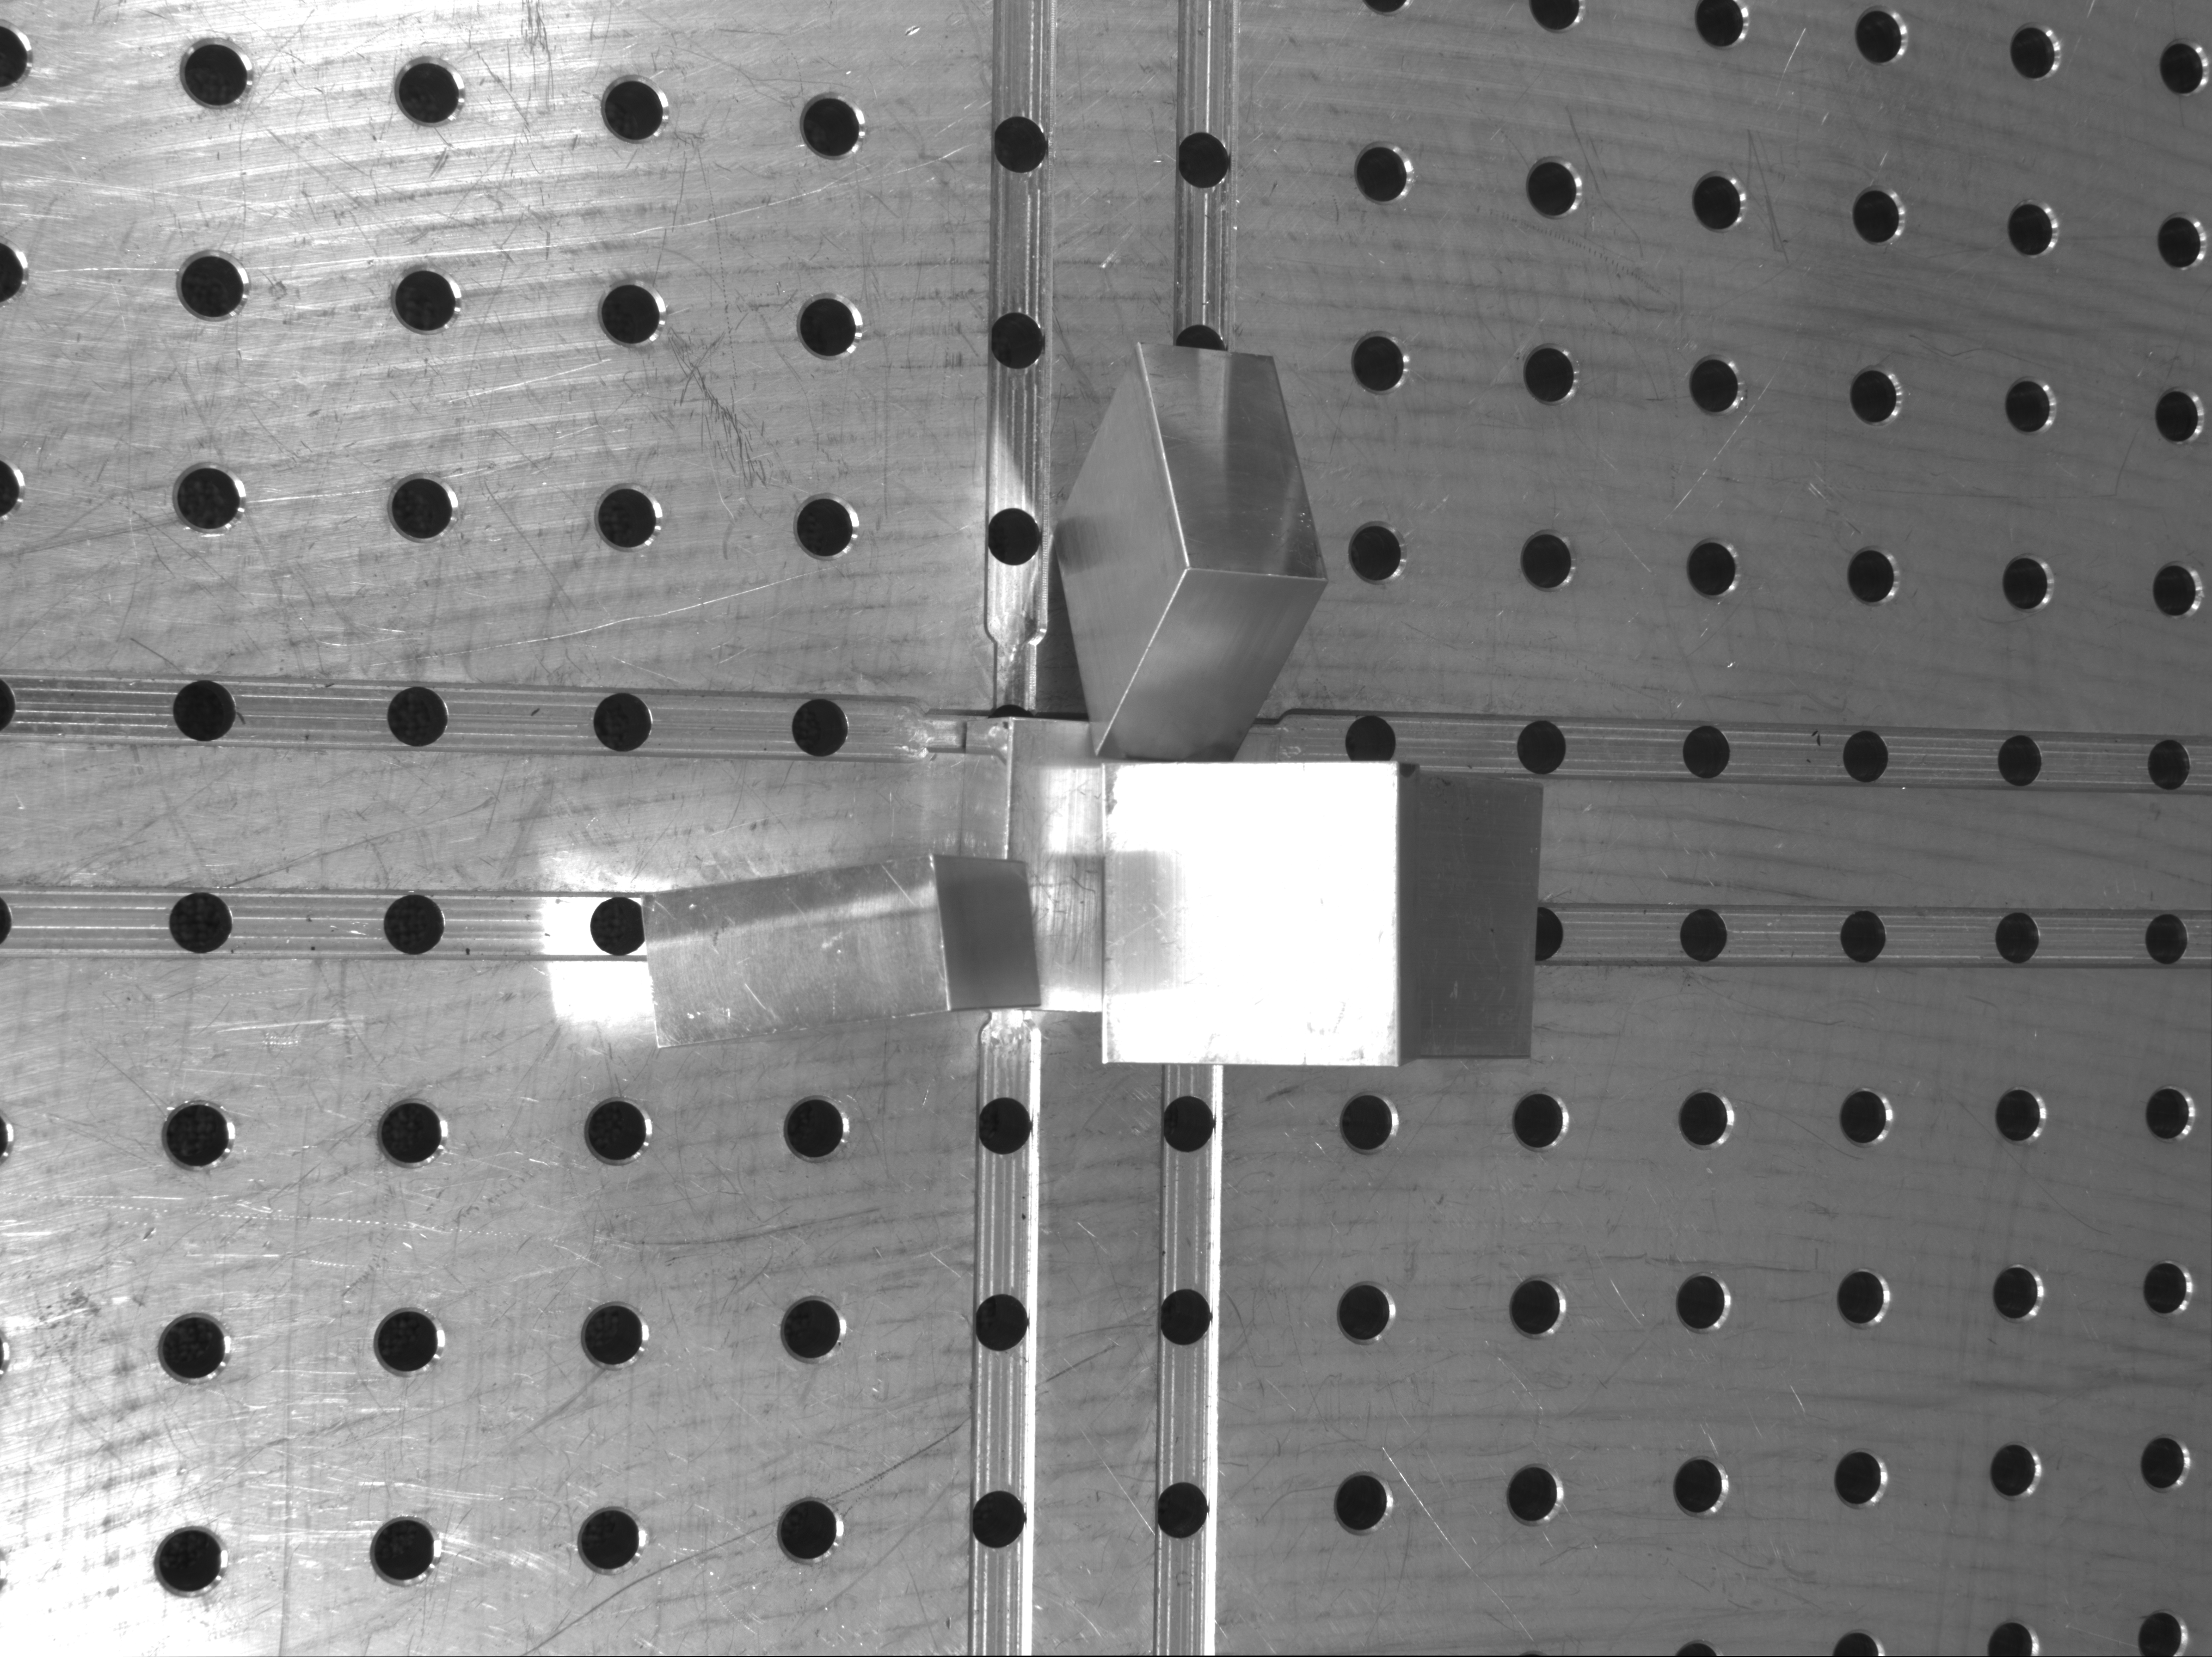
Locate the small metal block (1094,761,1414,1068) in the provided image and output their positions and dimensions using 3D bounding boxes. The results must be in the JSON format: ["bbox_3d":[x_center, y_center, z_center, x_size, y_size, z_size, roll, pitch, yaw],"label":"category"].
[{"bbox_3d":[0.025,0.014,0.616,0.050,0.025,0.050,0,90,13],"label":"small metal block"}]

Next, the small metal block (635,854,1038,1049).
[{"bbox_3d":[-0.044,0.020,0.606,0.050,0.050,0.025,-8,86,15],"label":"small metal block"}]

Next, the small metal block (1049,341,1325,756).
[{"bbox_3d":[0.013,-0.046,0.626,0.025,0.050,0.050,3,53,-19],"label":"small metal block"}]

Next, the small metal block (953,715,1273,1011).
[{"bbox_3d":[0.000,0.007,0.646,0.050,0.025,0.050,3,89,-20],"label":"small metal block"}]

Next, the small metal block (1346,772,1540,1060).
[{"bbox_3d":[0.052,0.015,0.653,0.050,0.025,0.050,4,88,-51],"label":"small metal block"}]
